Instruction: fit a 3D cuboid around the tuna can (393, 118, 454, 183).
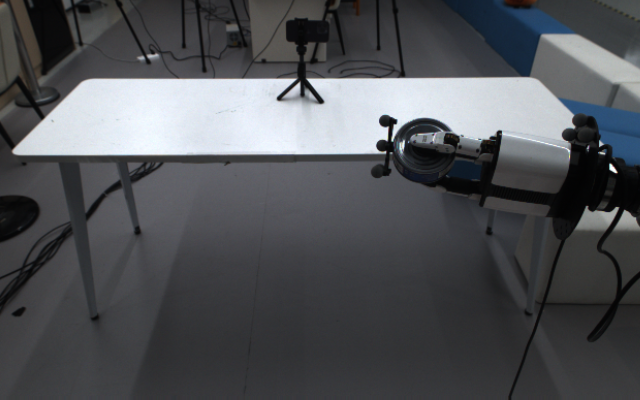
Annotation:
[{"bbox_3d":[0.144,-0.070,0.661,0.085,0.034,0.085,-2,68,6],"label":"tuna can"}]
